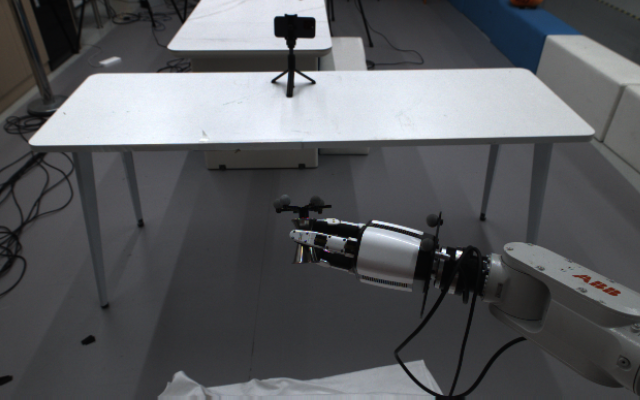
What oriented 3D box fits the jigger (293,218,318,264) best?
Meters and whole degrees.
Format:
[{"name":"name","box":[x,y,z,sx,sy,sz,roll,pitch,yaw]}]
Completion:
[{"name":"jigger","box":[-0.024,0.063,0.746,0.043,0.071,0.043,-2,-7,0]}]
